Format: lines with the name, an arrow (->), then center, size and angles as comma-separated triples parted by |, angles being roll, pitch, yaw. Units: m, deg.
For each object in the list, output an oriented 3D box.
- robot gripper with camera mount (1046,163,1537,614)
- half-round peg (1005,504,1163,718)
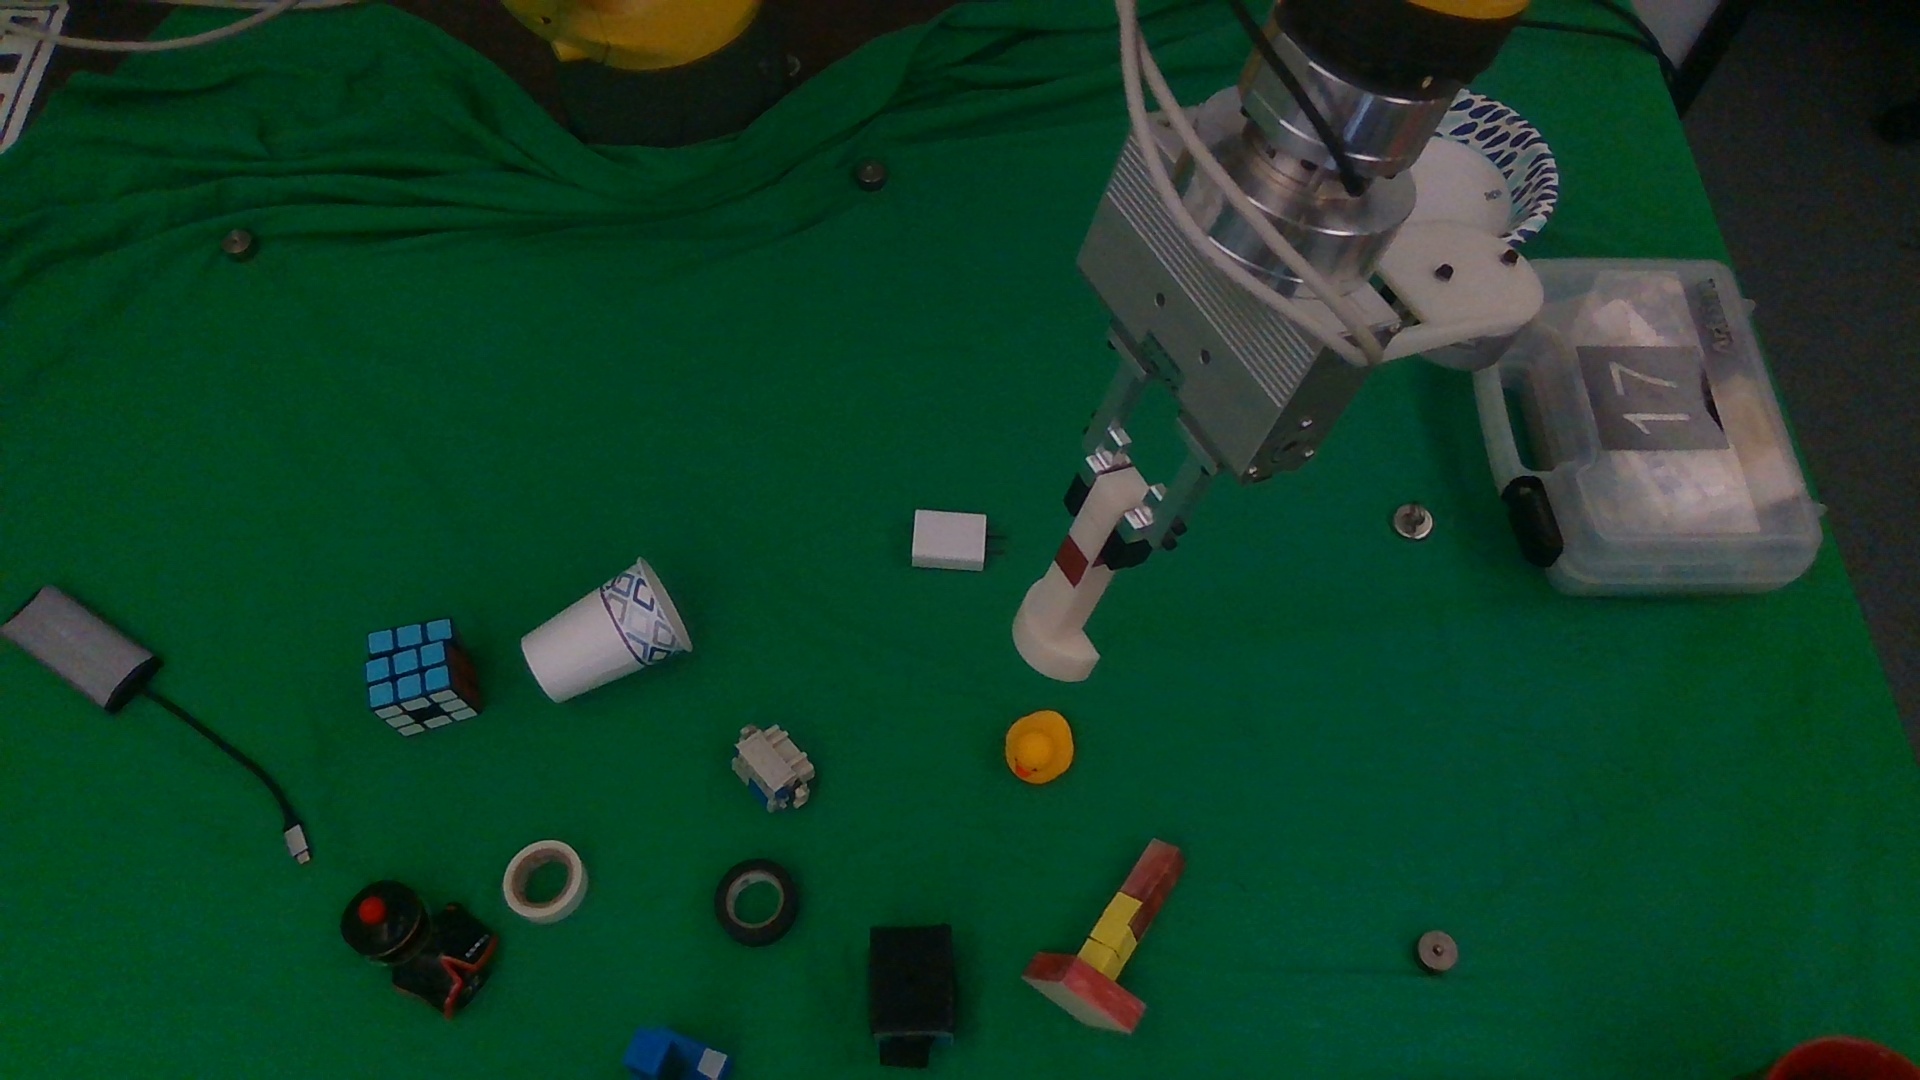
robot gripper with camera mount -> 0.135, -0.059, 0.561 | 0.193, 0.159, 0.119 | -16, 57, -28
half-round peg -> 0.057, 0.030, 0.611 | 0.031, 0.122, 0.054 | -23, 63, -37
